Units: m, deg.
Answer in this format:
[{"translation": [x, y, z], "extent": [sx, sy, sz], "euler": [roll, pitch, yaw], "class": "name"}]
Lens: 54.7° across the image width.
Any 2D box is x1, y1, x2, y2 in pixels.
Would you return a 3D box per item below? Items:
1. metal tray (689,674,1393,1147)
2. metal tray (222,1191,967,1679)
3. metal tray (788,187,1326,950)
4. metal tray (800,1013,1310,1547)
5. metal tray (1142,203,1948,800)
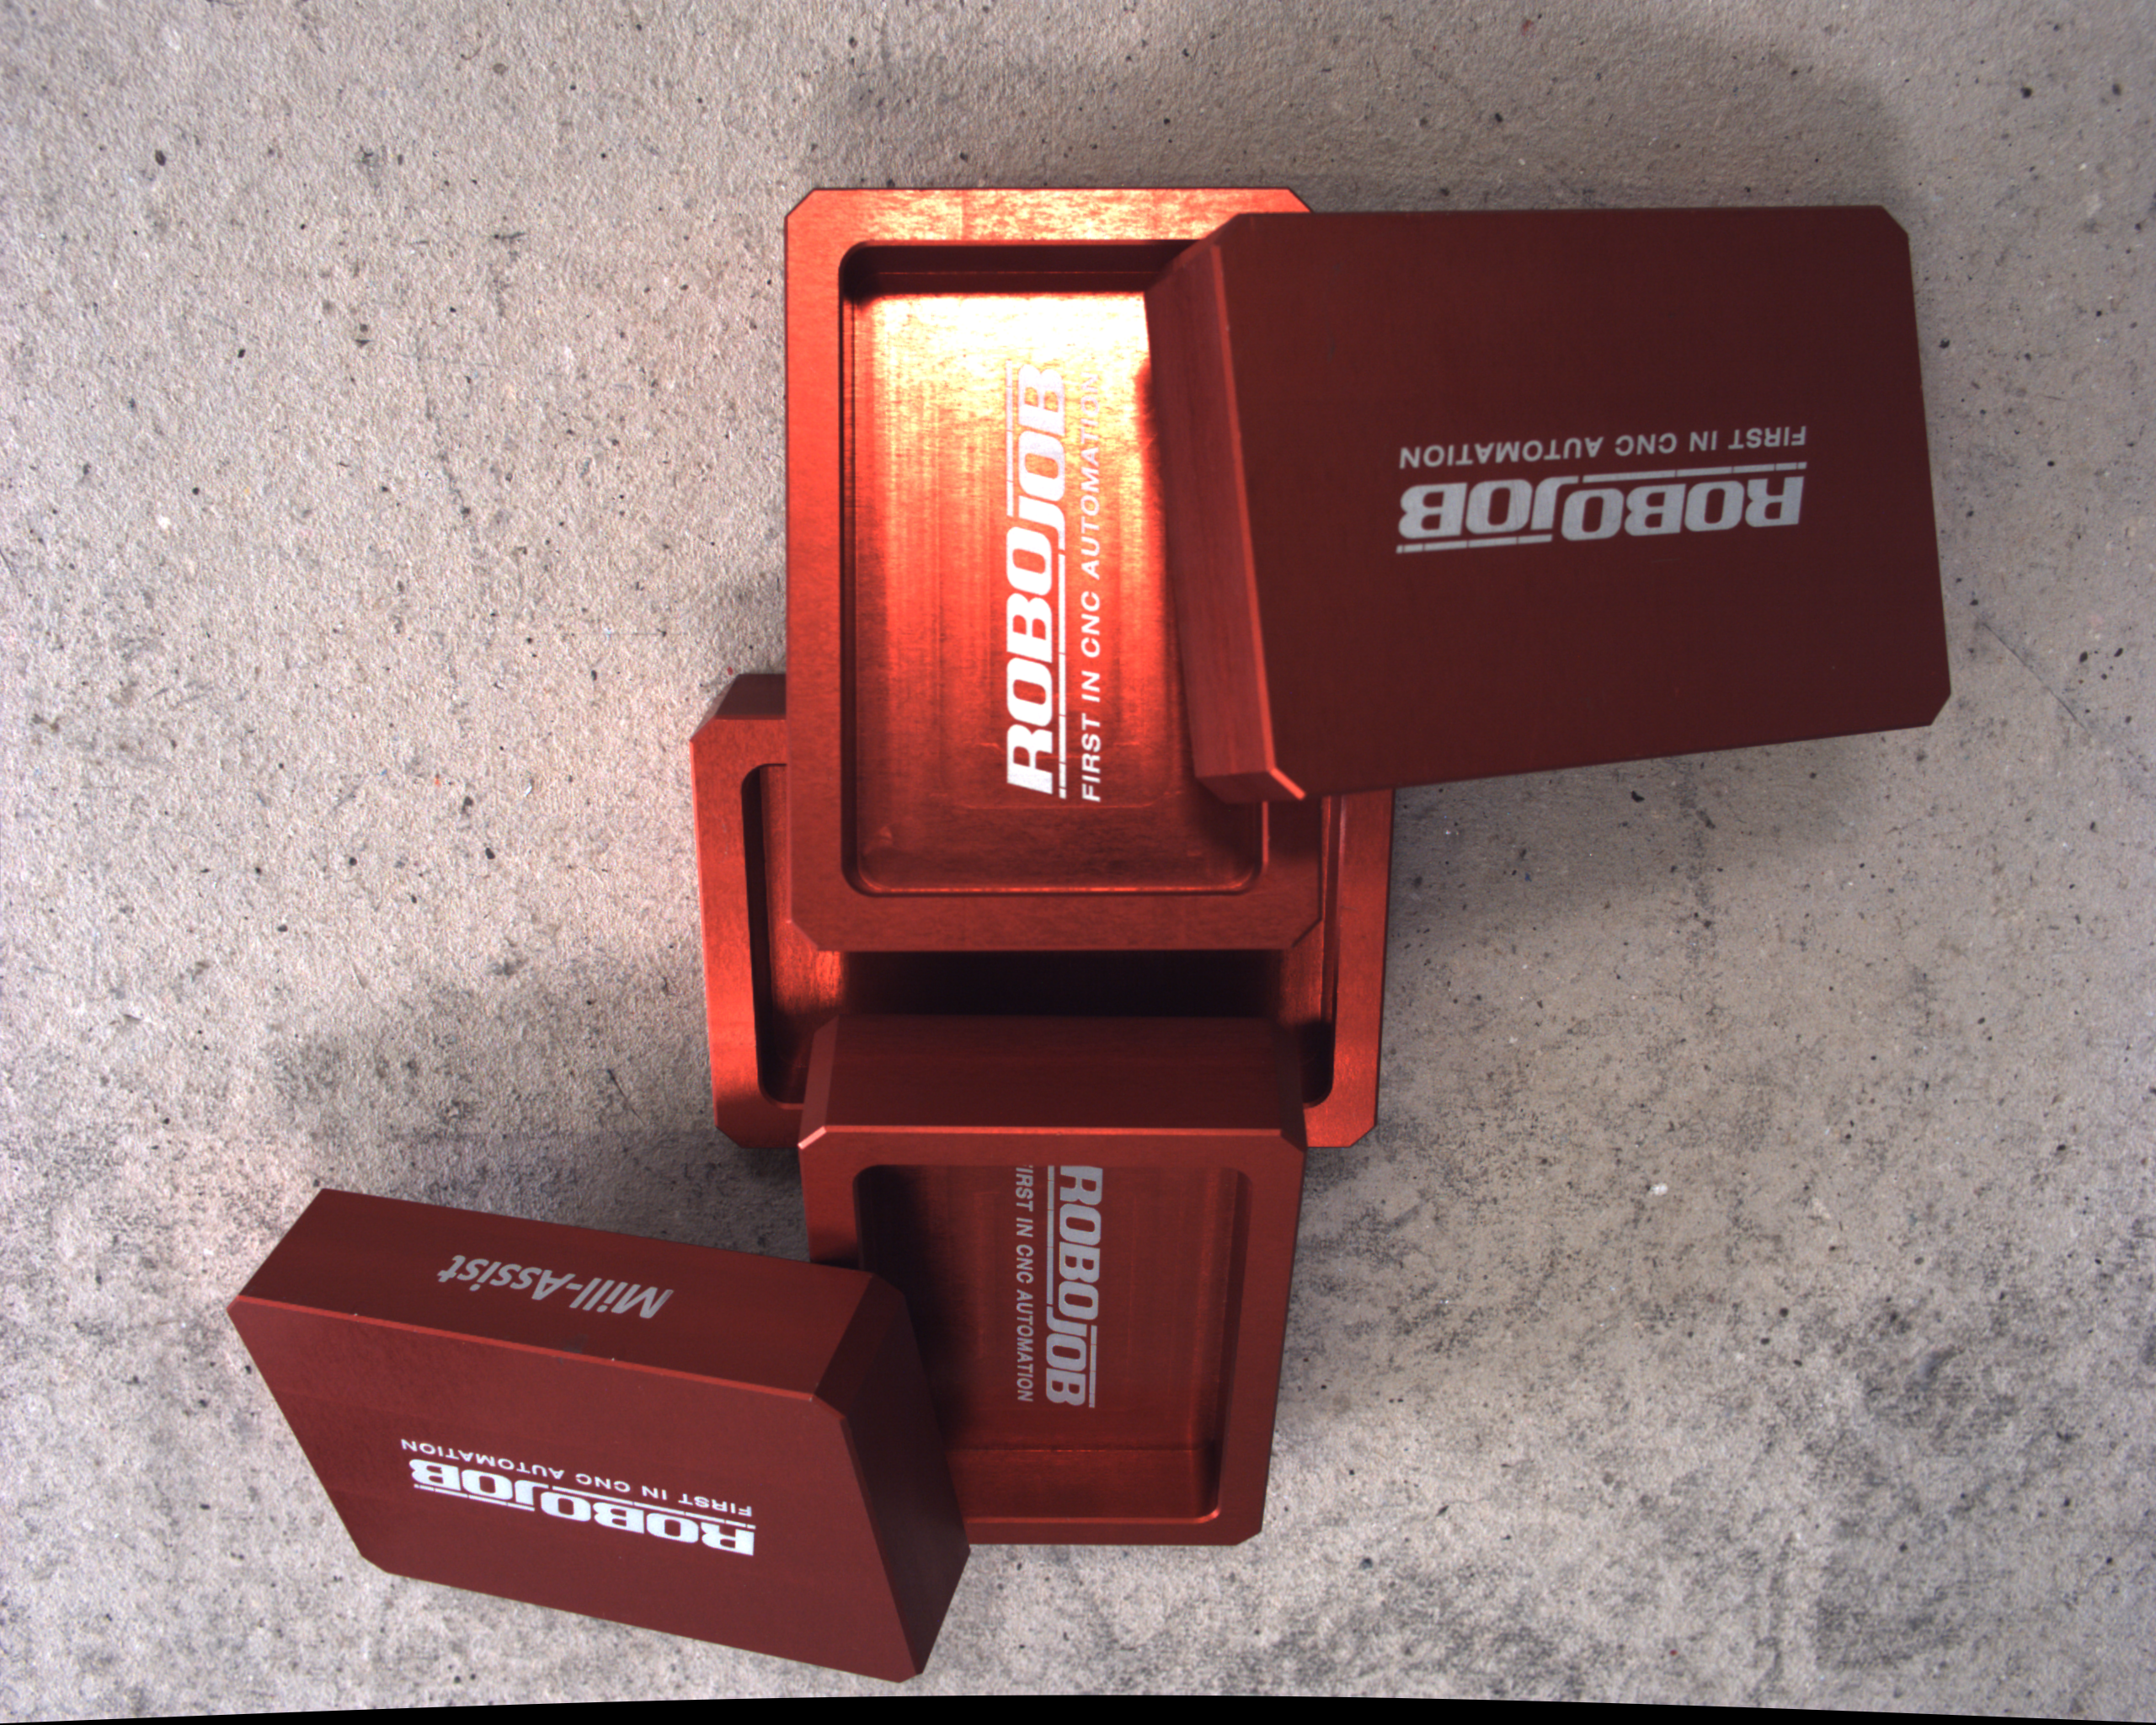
[{"translation": [-0.006, 0.010, 0.412], "extent": [0.131, 0.030, 0.089], "euler": [0, 110, 0], "class": "metal tray"}, {"translation": [-0.094, 0.114, 0.418], "extent": [0.130, 0.030, 0.089], "euler": [4, 128, 17], "class": "metal tray"}, {"translation": [-0.003, -0.050, 0.368], "extent": [0.091, 0.030, 0.129], "euler": [0, 90, -1], "class": "metal tray"}, {"translation": [-0.005, 0.088, 0.419], "extent": [0.091, 0.030, 0.129], "euler": [1, 129, -1], "class": "metal tray"}, {"translation": [0.081, -0.062, 0.352], "extent": [0.131, 0.030, 0.089], "euler": [-7, 92, -20], "class": "metal tray"}]
